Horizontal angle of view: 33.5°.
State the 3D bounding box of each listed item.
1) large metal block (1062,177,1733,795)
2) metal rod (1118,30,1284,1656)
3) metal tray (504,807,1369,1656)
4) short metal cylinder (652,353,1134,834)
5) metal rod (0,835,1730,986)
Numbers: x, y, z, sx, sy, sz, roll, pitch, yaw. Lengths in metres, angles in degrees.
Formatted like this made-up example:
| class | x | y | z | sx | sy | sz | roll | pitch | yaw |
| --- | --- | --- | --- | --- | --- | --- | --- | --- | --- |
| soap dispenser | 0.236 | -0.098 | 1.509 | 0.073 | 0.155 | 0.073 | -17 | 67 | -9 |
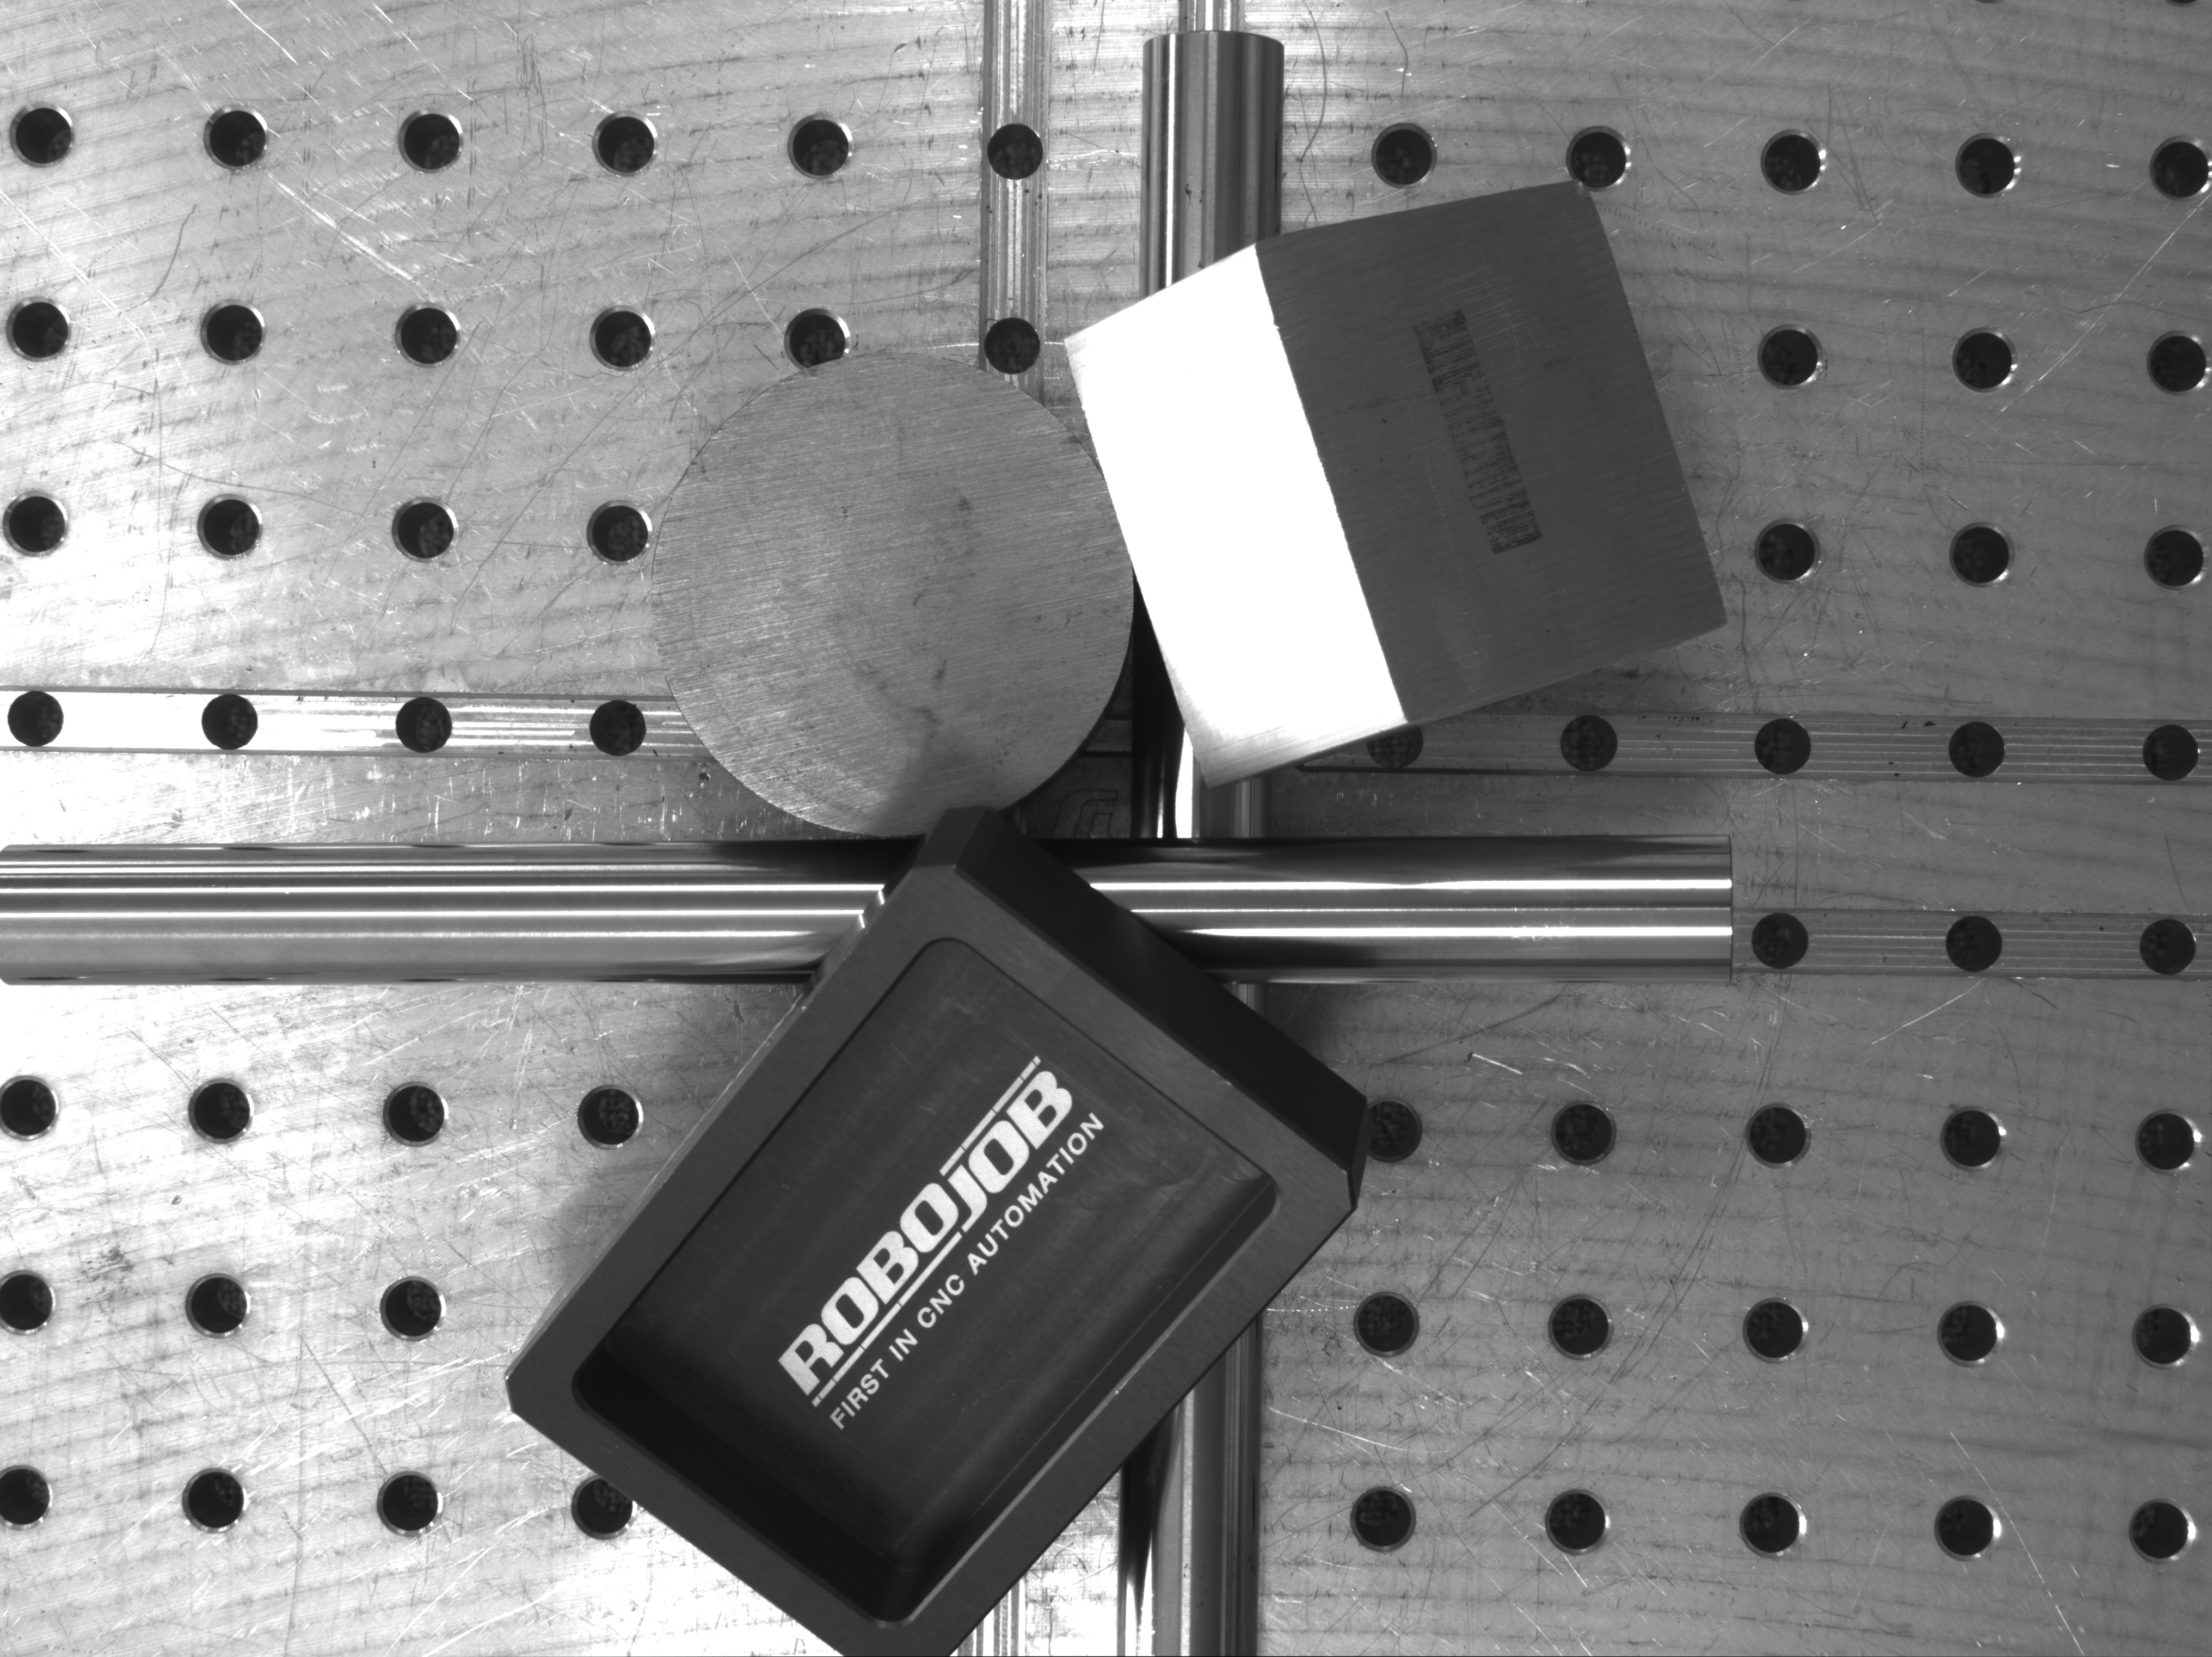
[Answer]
| class | x | y | z | sx | sy | sz | roll | pitch | yaw |
| --- | --- | --- | --- | --- | --- | --- | --- | --- | --- |
| large metal block | 0.049 | -0.058 | 0.616 | 0.080 | 0.050 | 0.080 | -18 | 90 | -40 |
| metal rod | 0.017 | 0.012 | 0.648 | 0.025 | 0.025 | 0.300 | 1 | 90 | 0 |
| metal tray | -0.029 | 0.072 | 0.620 | 0.090 | 0.030 | 0.130 | 38 | 111 | -6 |
| short metal cylinder | -0.035 | -0.039 | 0.635 | 0.080 | 0.050 | 0.080 | 0 | 90 | 0 |
| metal rod | -0.045 | 0.015 | 0.632 | 0.300 | 0.025 | 0.025 | 0 | 90 | 7 |
